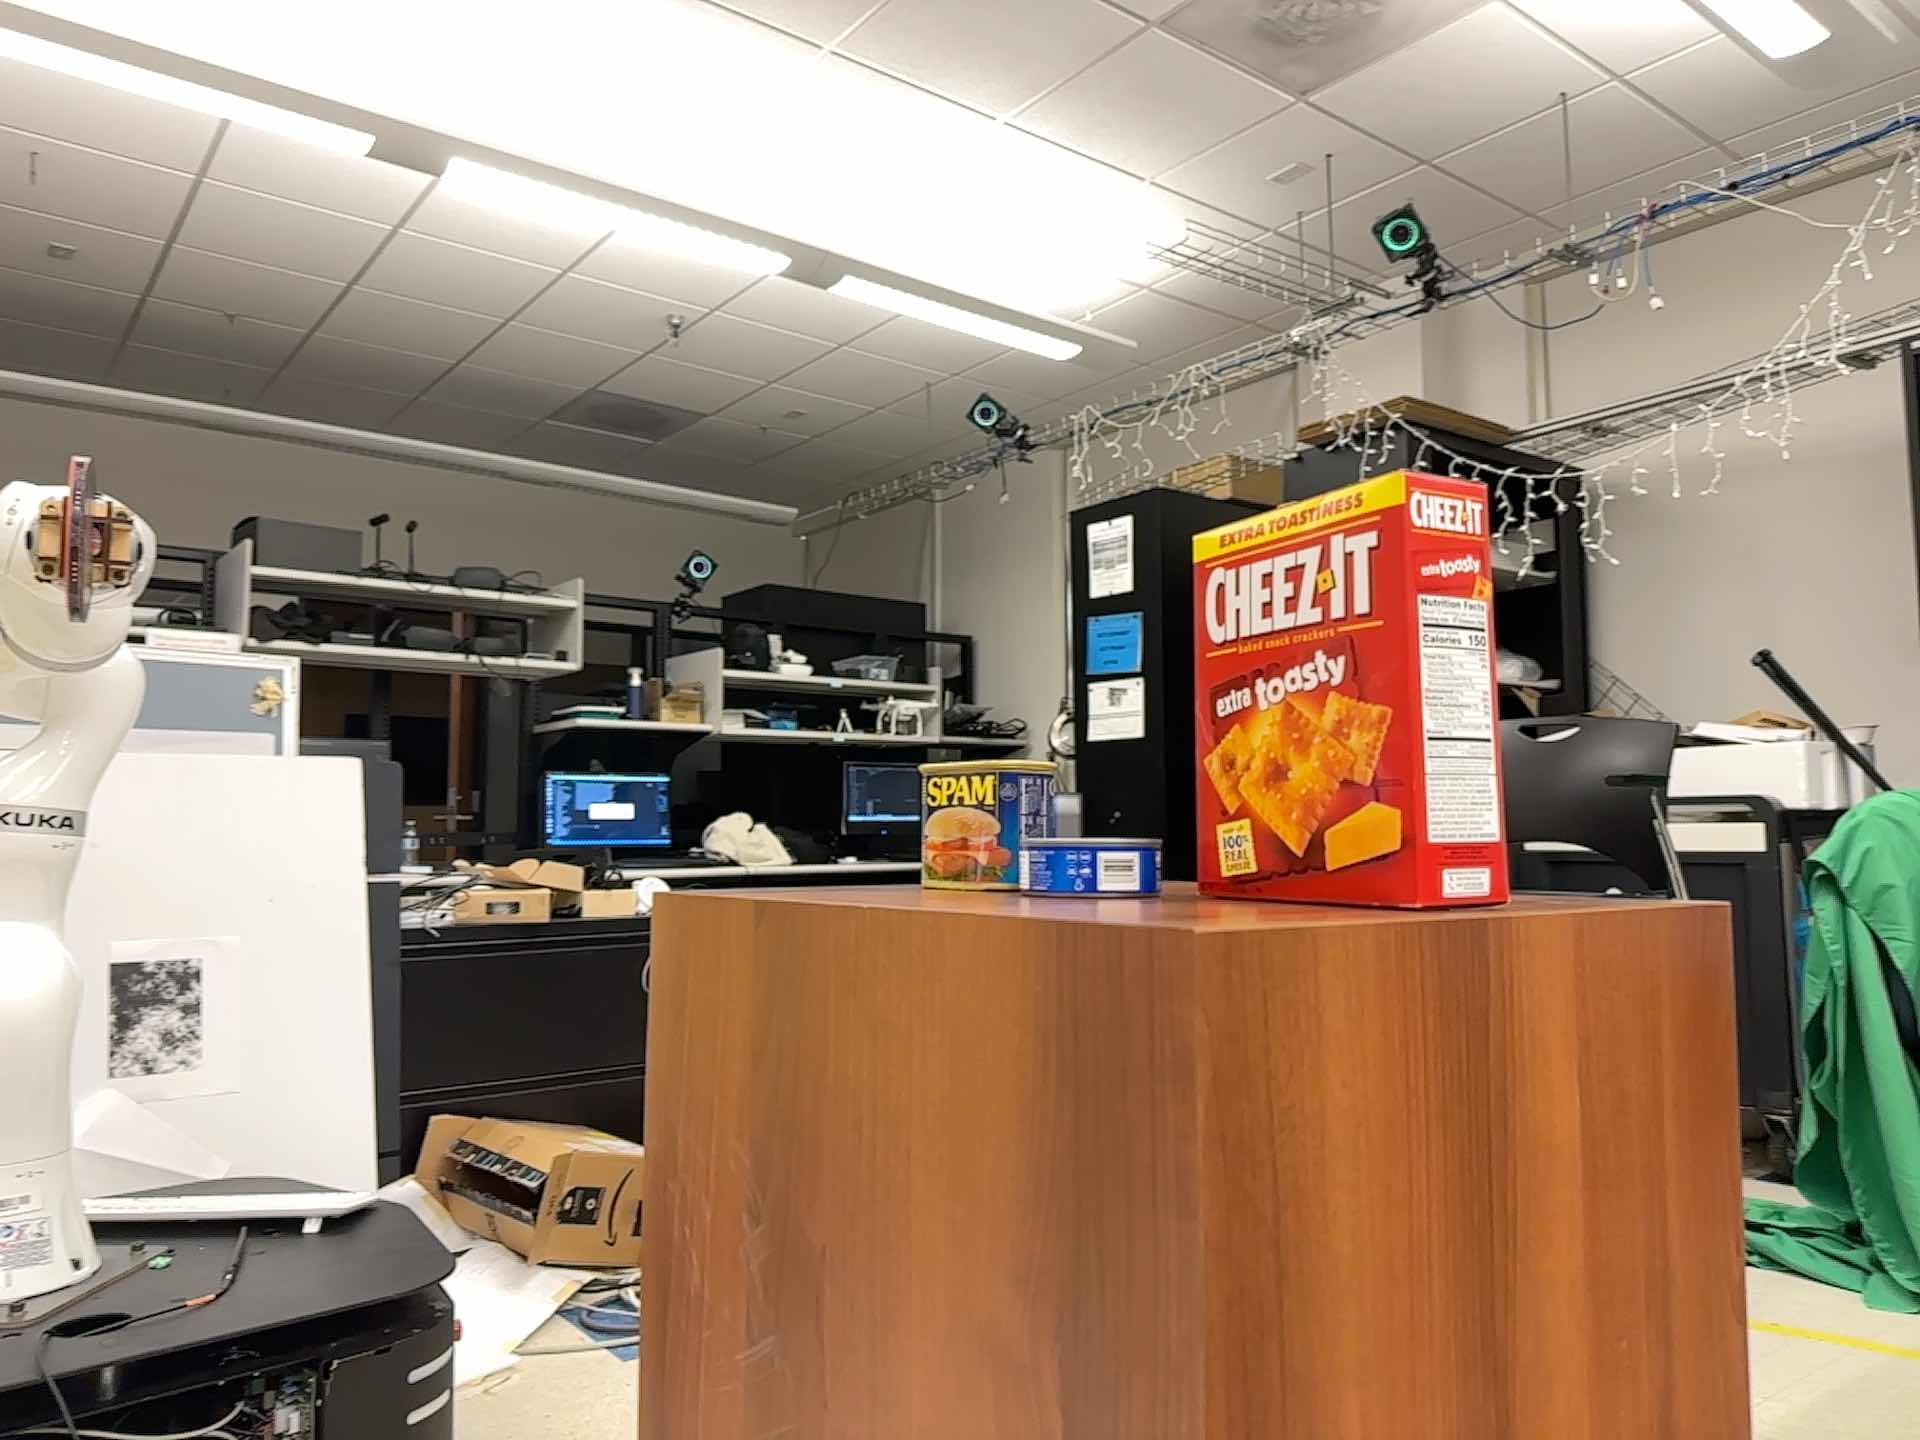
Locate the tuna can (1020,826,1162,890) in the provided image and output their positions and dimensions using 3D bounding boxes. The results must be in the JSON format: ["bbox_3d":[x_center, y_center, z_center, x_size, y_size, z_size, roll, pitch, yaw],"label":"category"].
[{"bbox_3d":[0.078,0.083,0.807,0.083,0.034,0.083,1,-9,0],"label":"tuna can"}]

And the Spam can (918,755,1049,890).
[{"bbox_3d":[0.014,0.070,0.902,0.056,0.083,0.100,4,-8,-29],"label":"Spam can"}]

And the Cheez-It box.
[{"bbox_3d":[0.206,-0.014,0.749,0.062,0.214,0.159,3,-8,-32],"label":"Cheez-It box"}]
